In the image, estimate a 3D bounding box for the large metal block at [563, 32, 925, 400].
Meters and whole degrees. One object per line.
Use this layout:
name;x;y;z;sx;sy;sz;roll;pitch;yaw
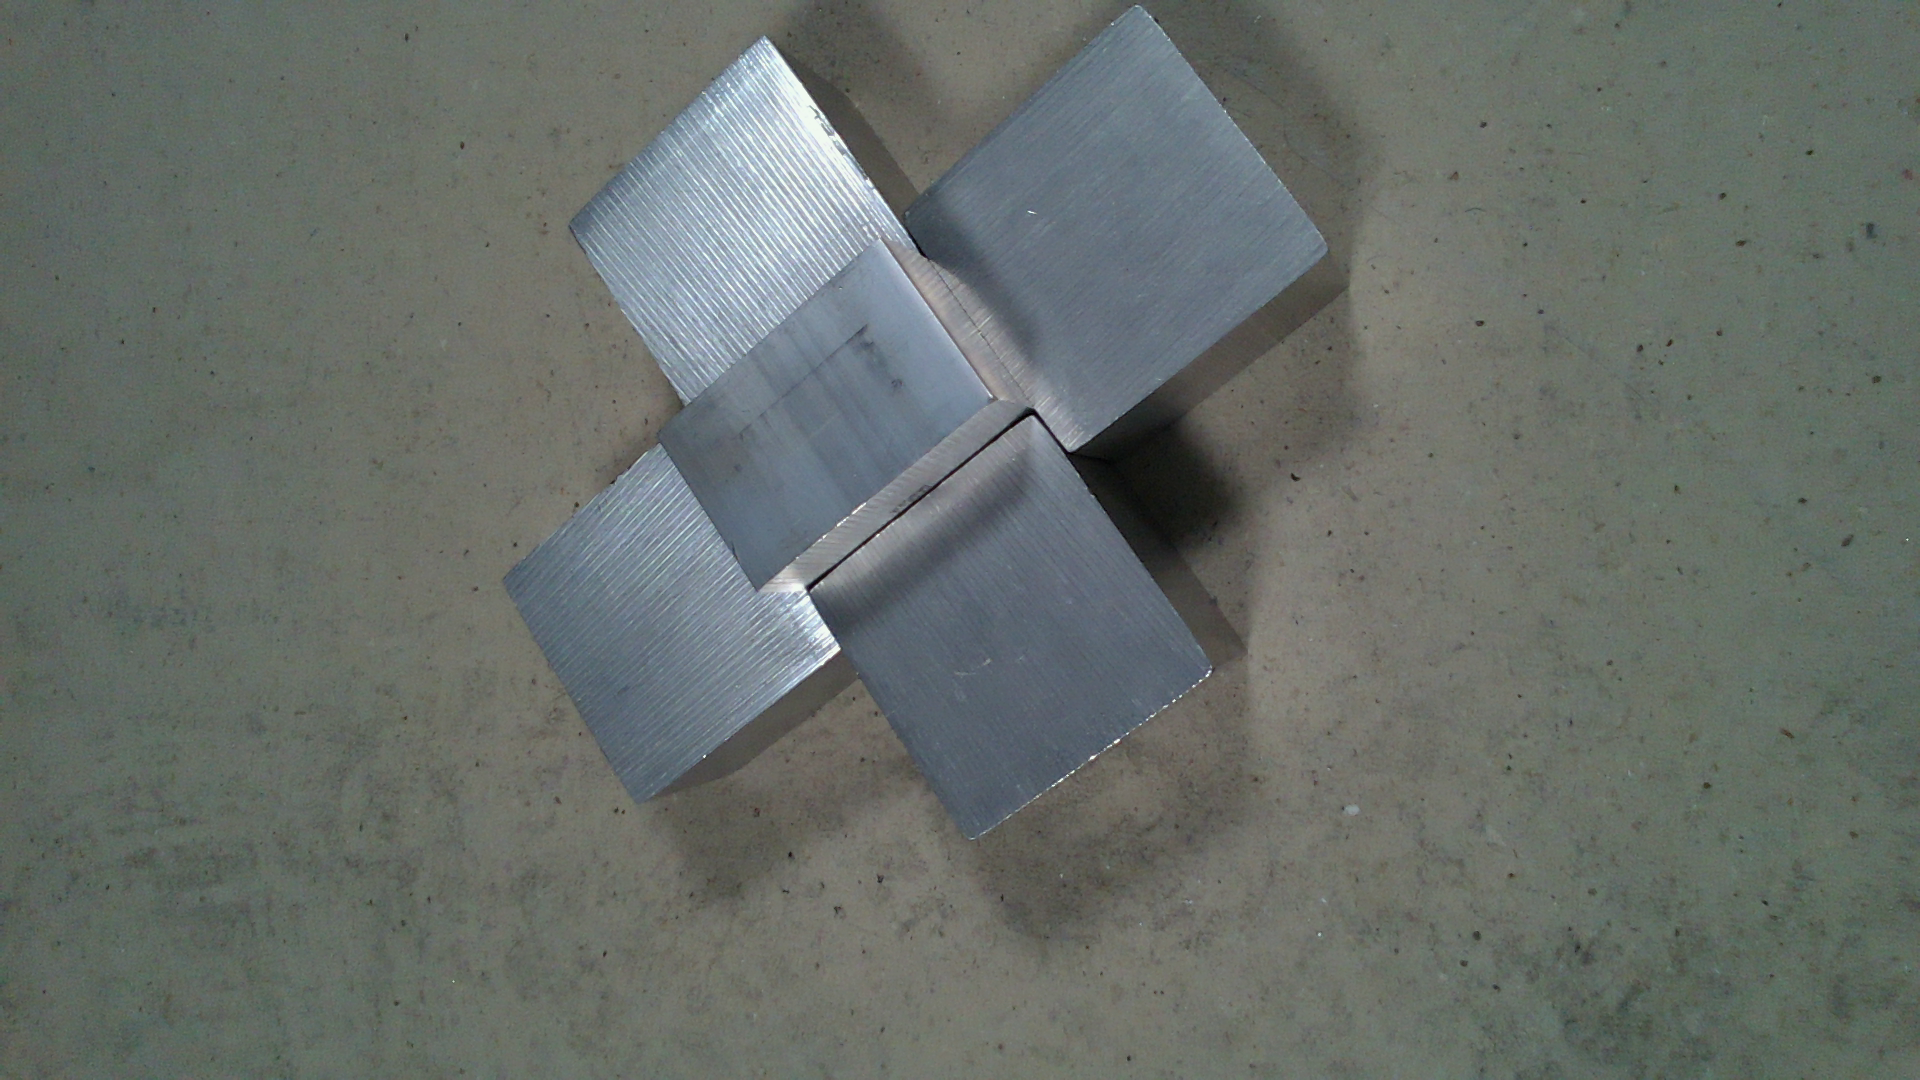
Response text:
large metal block;-0.053;-0.082;0.401;0.080;0.050;0.080;-38;78;16

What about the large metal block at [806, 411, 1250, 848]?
large metal block;0.020;0.023;0.375;0.080;0.050;0.080;-38;78;16

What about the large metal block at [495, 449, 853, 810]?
large metal block;-0.076;0.020;0.409;0.080;0.050;0.080;-38;78;16

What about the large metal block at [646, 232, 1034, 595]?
large metal block;-0.023;-0.030;0.375;0.080;0.080;0.050;-38;78;16

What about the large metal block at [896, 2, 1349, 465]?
large metal block;0.044;-0.077;0.366;0.080;0.050;0.080;-38;78;16
